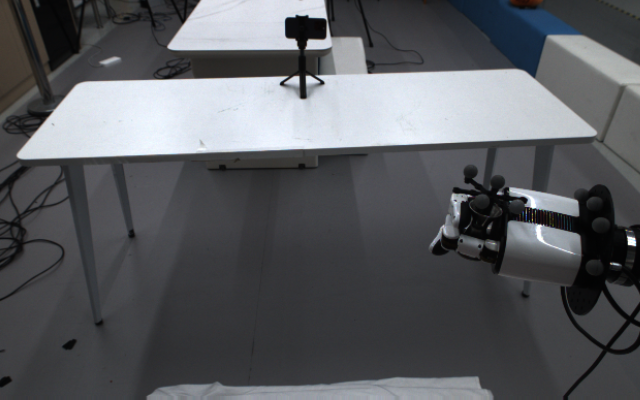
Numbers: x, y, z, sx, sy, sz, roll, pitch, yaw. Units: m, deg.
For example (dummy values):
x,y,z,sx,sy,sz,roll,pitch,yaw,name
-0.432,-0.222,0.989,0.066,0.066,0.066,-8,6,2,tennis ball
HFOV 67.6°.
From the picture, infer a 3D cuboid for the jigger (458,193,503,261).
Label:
x,y,z,sx,sy,sz,roll,pitch,yaw,name
0.200,0.037,0.612,0.043,0.071,0.043,7,32,-4,jigger
